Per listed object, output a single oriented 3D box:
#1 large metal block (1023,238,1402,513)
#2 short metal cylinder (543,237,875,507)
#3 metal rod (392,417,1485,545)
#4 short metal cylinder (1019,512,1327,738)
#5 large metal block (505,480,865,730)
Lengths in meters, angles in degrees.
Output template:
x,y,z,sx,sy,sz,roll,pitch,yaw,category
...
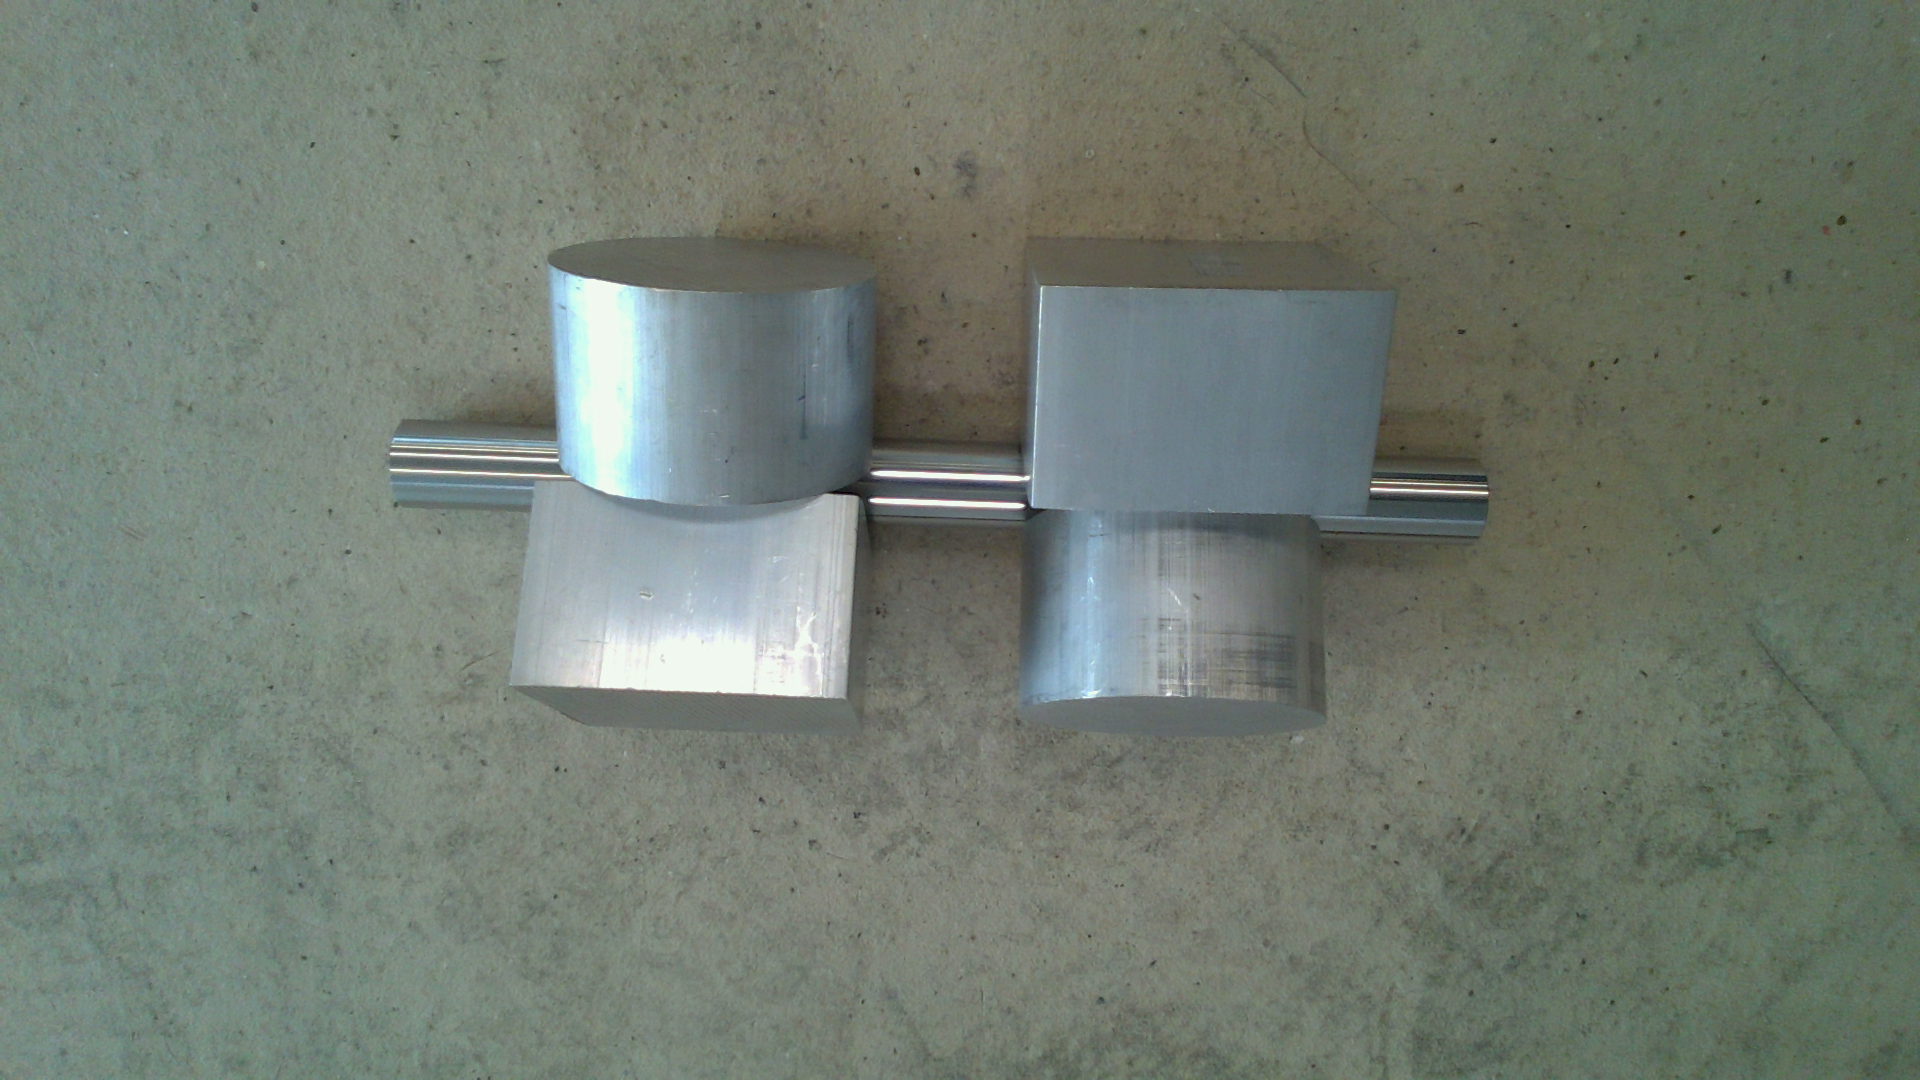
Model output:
x,y,z,sx,sy,sz,roll,pitch,yaw,category
0.057,-0.044,0.348,0.080,0.080,0.050,1,110,-1,large metal block
-0.062,-0.045,0.347,0.080,0.080,0.050,3,110,-1,short metal cylinder
-0.005,-0.017,0.390,0.300,0.025,0.025,2,110,-1,metal rod
0.056,0.023,0.367,0.080,0.080,0.050,2,75,-1,short metal cylinder
-0.066,0.021,0.366,0.080,0.080,0.050,2,76,-1,large metal block
